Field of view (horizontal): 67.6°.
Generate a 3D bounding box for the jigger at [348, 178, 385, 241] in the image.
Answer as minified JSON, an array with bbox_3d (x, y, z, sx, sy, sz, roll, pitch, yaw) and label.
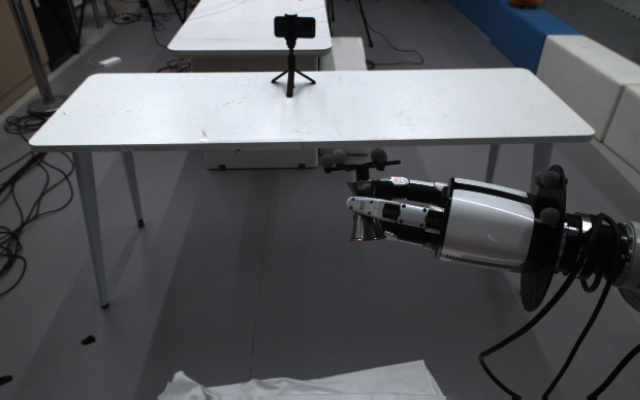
[{"bbox_3d":[0.052,0.011,0.562,0.043,0.071,0.043,-4,1,0],"label":"jigger"}]
